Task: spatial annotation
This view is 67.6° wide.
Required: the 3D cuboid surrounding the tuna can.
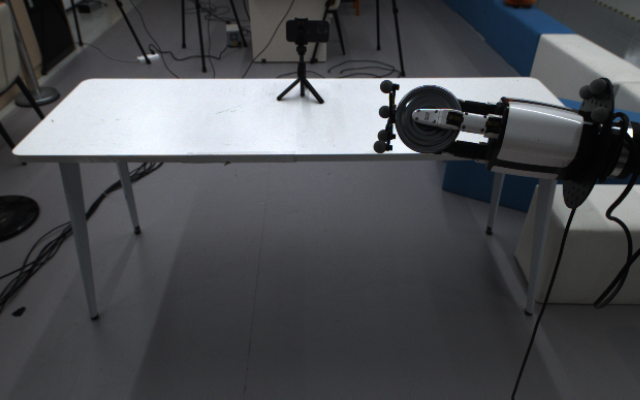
[{"bbox_3d":[0.141,-0.107,0.630,0.085,0.085,0.034,10,2,11],"label":"tuna can"}]
